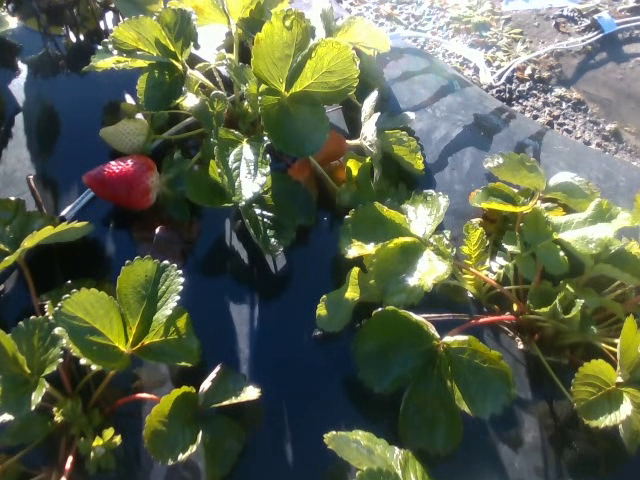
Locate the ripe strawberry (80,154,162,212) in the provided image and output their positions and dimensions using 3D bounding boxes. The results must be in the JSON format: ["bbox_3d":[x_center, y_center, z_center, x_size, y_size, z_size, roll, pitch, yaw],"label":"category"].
[{"bbox_3d":[-0.173,-0.054,0.530,0.080,0.063,0.040,1,-3,-23],"label":"ripe strawberry"}]
